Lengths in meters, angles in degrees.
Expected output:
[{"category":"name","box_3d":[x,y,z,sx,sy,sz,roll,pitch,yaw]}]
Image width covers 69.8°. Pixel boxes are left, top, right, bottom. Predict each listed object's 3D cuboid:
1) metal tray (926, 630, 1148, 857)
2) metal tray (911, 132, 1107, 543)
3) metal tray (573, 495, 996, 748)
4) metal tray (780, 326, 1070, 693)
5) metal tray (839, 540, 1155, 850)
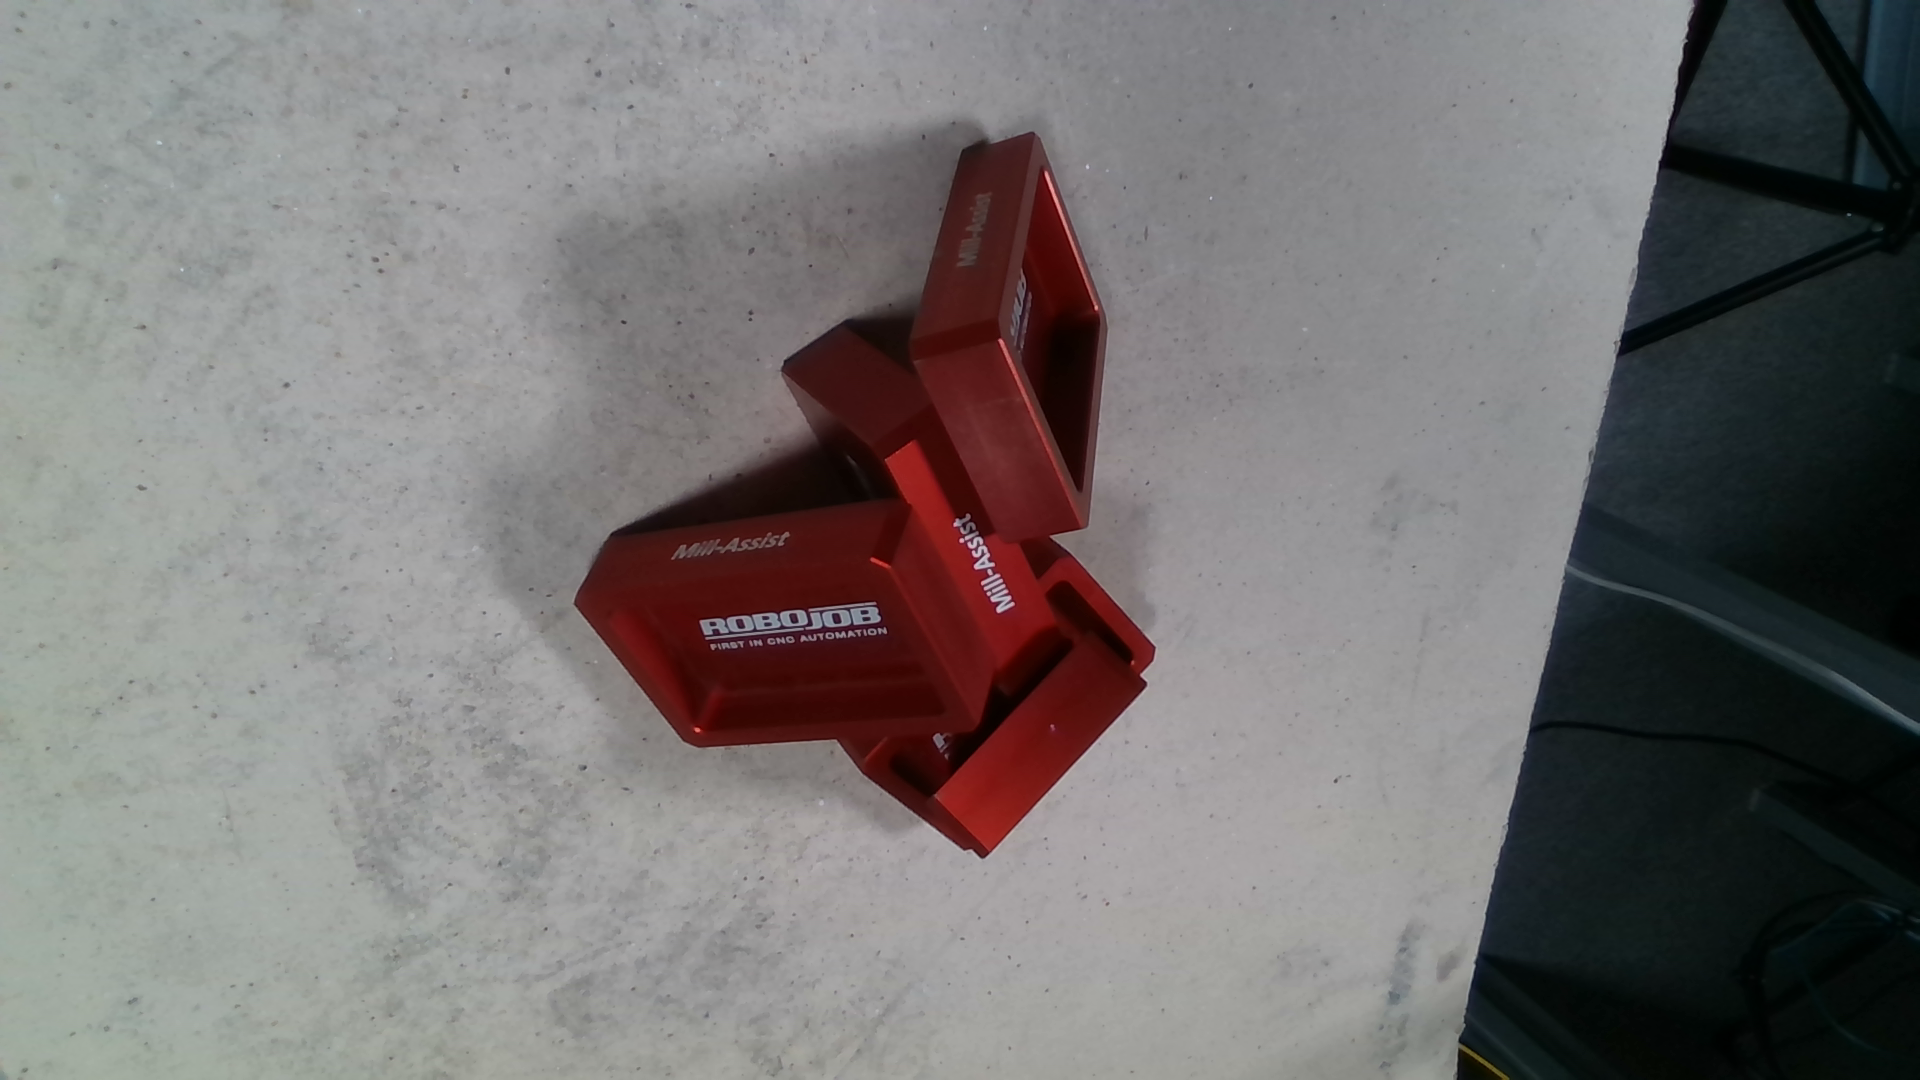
[{"category":"metal tray","box_3d":[0.032,0.082,0.573,0.090,0.030,0.130,-46,174,-2]},{"category":"metal tray","box_3d":[0.022,-0.074,0.493,0.030,0.130,0.090,-11,130,20]},{"category":"metal tray","box_3d":[-0.063,0.034,0.504,0.130,0.030,0.090,-7,131,25]},{"category":"metal tray","box_3d":[-0.013,-0.010,0.525,0.030,0.090,0.130,-36,128,-10]},{"category":"metal tray","box_3d":[0.018,0.069,0.626,0.130,0.030,0.090,-46,129,-2]}]
